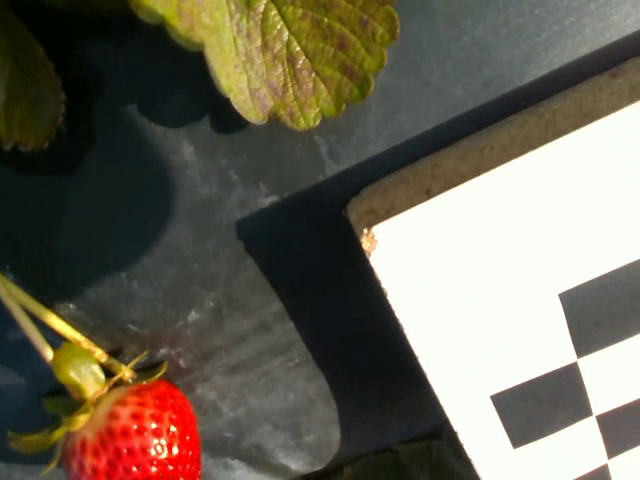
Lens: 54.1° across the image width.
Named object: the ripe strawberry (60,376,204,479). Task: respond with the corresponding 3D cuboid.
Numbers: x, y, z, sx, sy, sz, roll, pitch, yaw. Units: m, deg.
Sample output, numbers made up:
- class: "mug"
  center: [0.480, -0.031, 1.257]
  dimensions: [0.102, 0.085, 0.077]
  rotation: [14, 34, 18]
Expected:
- class: "ripe strawberry"
  center: [-0.043, 0.056, 0.154]
  dimensions: [0.040, 0.044, 0.037]
  rotation: [-42, 16, 15]
